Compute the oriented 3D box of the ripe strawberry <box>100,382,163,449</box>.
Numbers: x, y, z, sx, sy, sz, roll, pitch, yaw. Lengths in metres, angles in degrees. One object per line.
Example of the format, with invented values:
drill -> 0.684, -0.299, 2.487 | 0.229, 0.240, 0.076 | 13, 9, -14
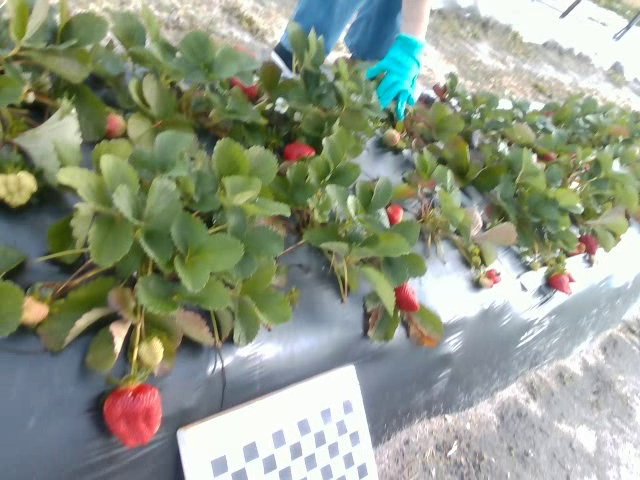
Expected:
ripe strawberry -> -0.208, 0.195, 0.633 | 0.067, 0.074, 0.039 | -2, -12, -43
